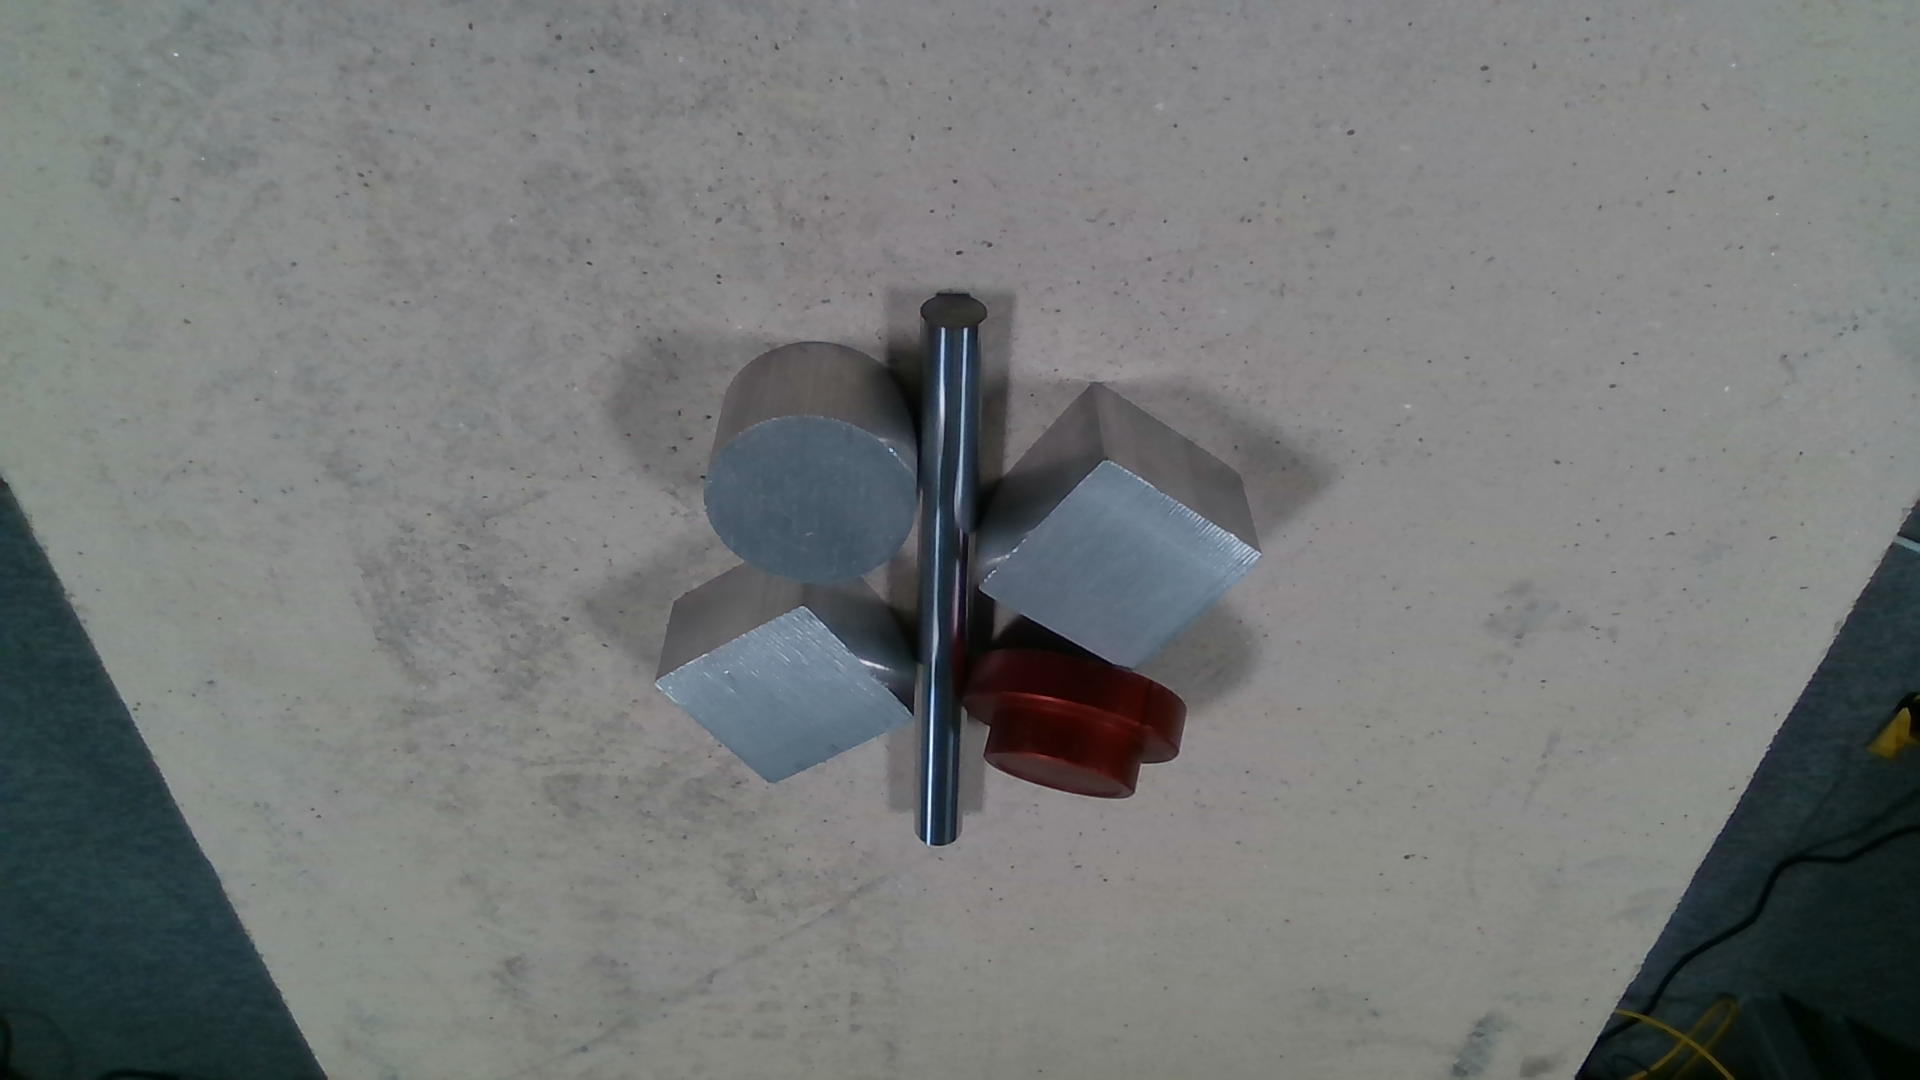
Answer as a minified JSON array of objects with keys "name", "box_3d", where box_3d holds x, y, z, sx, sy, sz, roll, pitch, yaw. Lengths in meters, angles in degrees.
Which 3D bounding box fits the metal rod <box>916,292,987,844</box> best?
[{"name":"metal rod","box_3d":[-0.007,0.030,0.606,0.025,0.025,0.301,1,130,-1]}]

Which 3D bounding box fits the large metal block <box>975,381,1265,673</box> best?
[{"name":"large metal block","box_3d":[0.062,-0.003,0.557,0.080,0.050,0.080,30,124,-22]}]

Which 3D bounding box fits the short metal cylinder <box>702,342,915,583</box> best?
[{"name":"short metal cylinder","box_3d":[-0.057,-0.030,0.538,0.080,0.050,0.080,0,130,0]}]

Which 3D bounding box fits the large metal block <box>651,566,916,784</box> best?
[{"name":"large metal block","box_3d":[-0.075,0.052,0.607,0.080,0.050,0.080,-27,125,21]}]

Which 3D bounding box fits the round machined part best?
[{"name":"round machined part","box_3d":[0.048,0.084,0.608,0.098,0.042,0.098,13,158,5]}]
